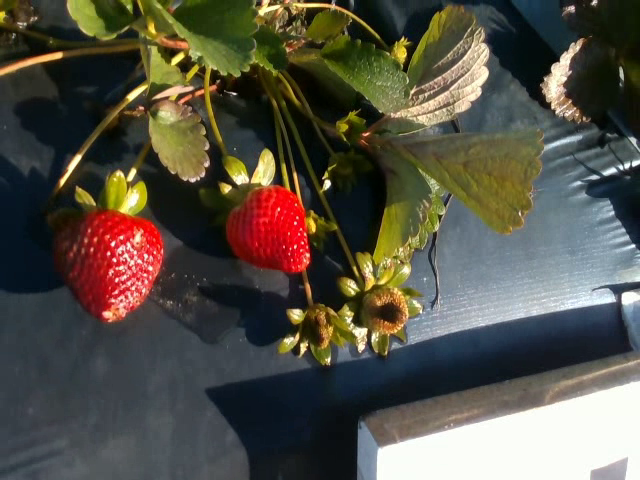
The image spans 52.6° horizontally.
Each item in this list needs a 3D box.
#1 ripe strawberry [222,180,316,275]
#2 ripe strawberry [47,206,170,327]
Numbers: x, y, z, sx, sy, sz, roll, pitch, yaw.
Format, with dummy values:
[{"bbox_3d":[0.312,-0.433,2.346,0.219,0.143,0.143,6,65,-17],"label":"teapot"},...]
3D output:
[{"bbox_3d":[-0.019,-0.002,0.284,0.049,0.042,0.039,49,8,32],"label":"ripe strawberry"},{"bbox_3d":[-0.087,0.013,0.260,0.050,0.050,0.045,9,-46,-25],"label":"ripe strawberry"}]
